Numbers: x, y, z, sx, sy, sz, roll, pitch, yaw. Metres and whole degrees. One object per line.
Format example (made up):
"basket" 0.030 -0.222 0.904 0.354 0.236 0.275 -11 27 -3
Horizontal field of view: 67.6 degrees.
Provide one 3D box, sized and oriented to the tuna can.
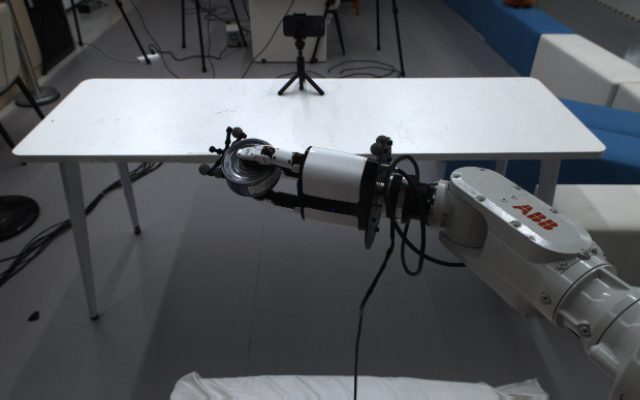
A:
"tuna can" -0.100 -0.045 0.719 0.085 0.034 0.085 -1 62 2
